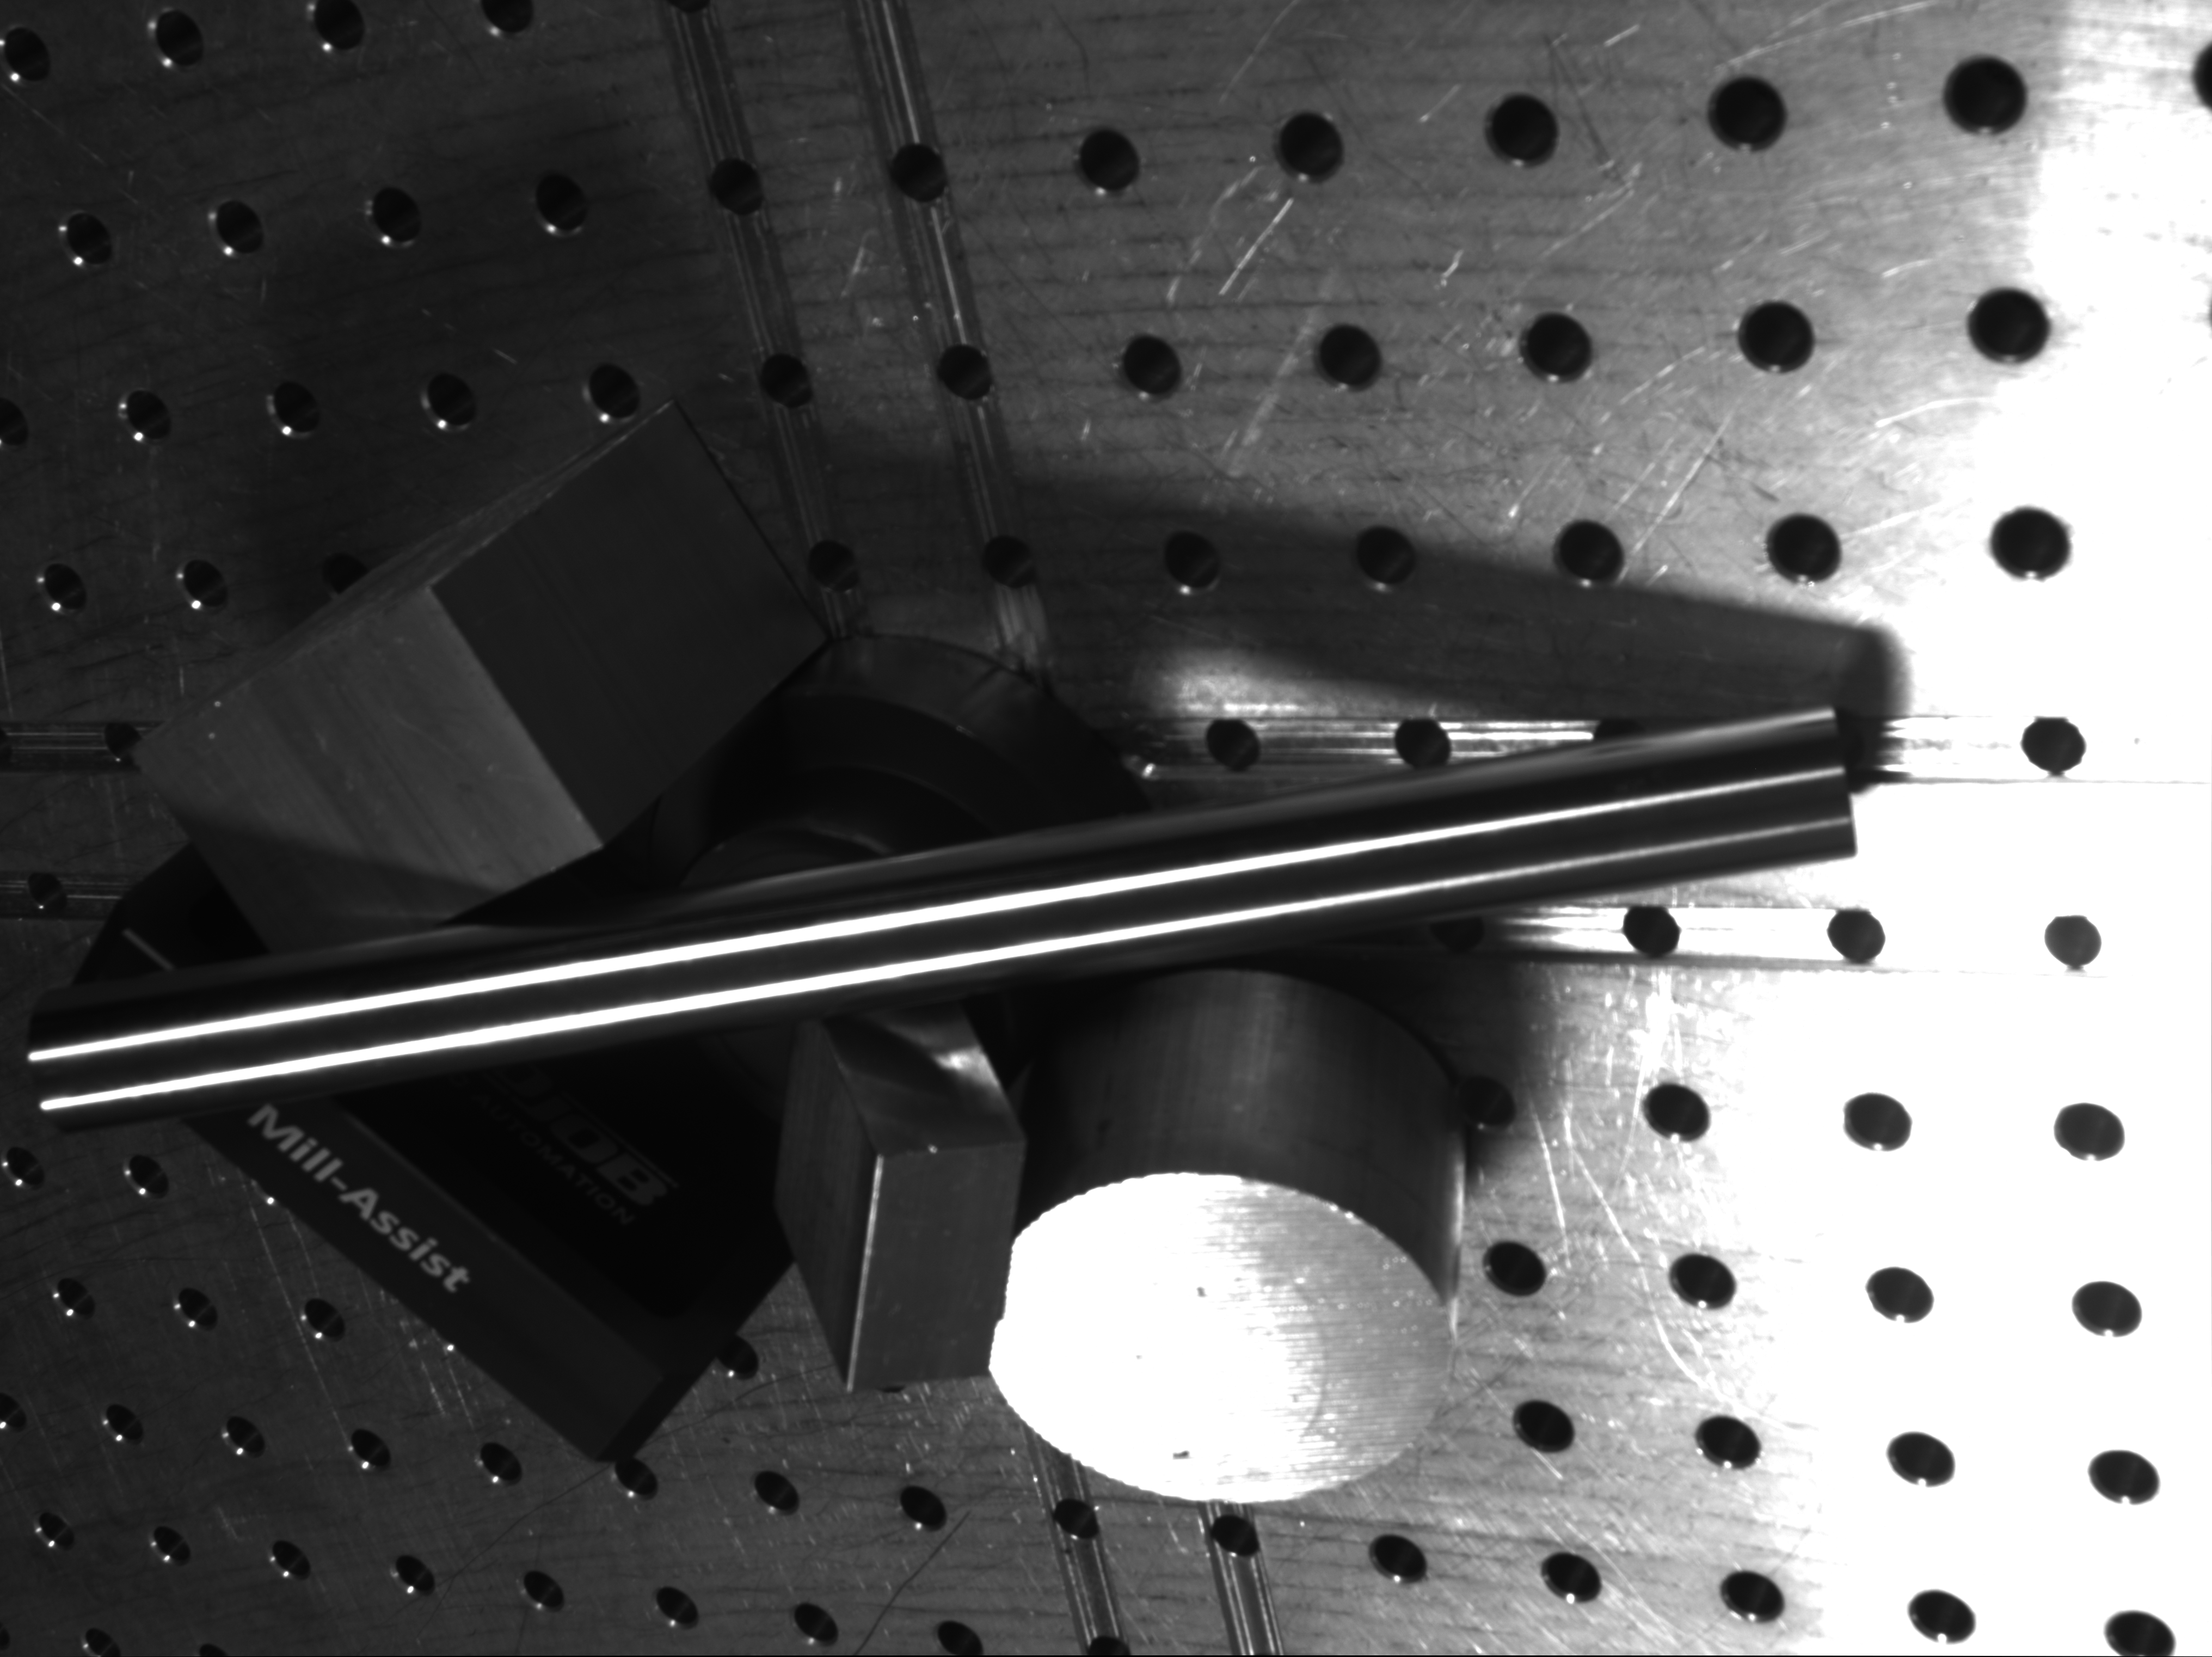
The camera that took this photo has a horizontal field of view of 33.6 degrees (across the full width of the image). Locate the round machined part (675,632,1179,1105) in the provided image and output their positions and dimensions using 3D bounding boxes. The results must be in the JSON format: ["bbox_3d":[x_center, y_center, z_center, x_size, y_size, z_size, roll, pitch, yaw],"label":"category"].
[{"bbox_3d":[-0.034,0.018,0.654,0.098,0.042,0.098,12,123,20],"label":"round machined part"}]

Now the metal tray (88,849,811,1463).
[{"bbox_3d":[-0.109,0.044,0.673,0.130,0.090,0.030,40,128,0],"label":"metal tray"}]

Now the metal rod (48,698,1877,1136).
[{"bbox_3d":[-0.027,0.016,0.597,0.300,0.025,0.025,-9,115,9],"label":"metal rod"}]

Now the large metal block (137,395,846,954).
[{"bbox_3d":[-0.105,-0.023,0.636,0.080,0.080,0.050,-23,106,35],"label":"large metal block"}]

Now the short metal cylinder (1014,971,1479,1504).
[{"bbox_3d":[0.024,0.071,0.634,0.080,0.050,0.080,4,130,5],"label":"short metal cylinder"}]

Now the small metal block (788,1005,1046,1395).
[{"bbox_3d":[-0.033,0.058,0.614,0.025,0.050,0.050,-4,125,-20],"label":"small metal block"}]
